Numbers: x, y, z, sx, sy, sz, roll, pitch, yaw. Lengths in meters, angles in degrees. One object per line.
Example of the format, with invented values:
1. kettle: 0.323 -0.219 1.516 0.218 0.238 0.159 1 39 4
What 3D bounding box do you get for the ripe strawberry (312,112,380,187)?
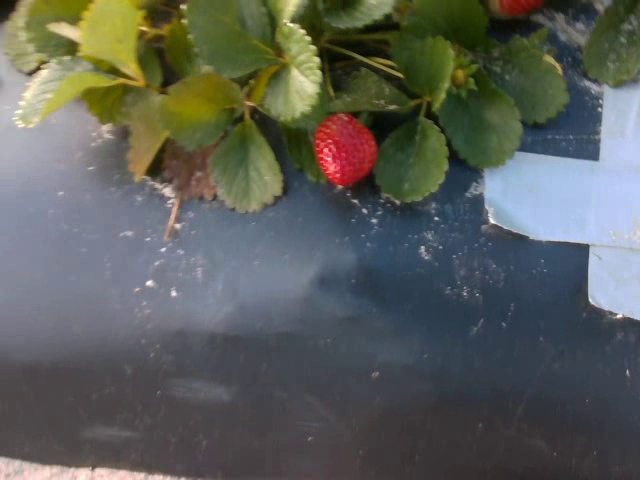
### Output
1. ripe strawberry: 0.006 -0.022 0.147 0.018 0.022 0.021 -5 -36 23
